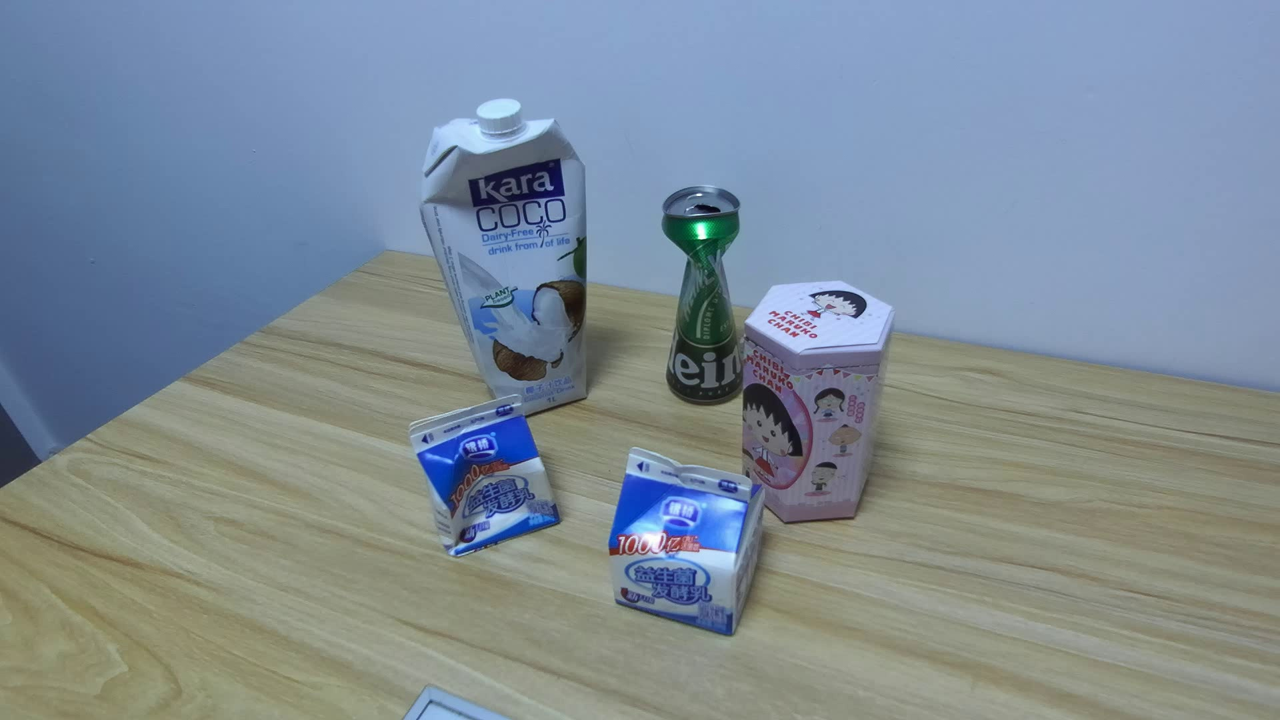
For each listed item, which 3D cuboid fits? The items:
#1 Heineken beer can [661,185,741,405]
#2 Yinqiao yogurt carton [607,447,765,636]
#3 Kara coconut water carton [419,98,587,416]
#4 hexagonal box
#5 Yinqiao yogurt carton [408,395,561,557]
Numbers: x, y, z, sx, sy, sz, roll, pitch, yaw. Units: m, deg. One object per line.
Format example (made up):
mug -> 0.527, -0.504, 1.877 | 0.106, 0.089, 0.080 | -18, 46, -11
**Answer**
Heineken beer can -> 0.051, -0.048, 0.546 | 0.066, 0.164, 0.078 | 19, 42, 32
Yinqiao yogurt carton -> 0.029, 0.093, 0.405 | 0.075, 0.092, 0.074 | 11, 36, 18
Kara coconut water carton -> -0.093, -0.070, 0.527 | 0.115, 0.239, 0.069 | -16, 38, -19
hexagonal box -> 0.110, 0.029, 0.451 | 0.084, 0.136, 0.091 | -22, 38, -26
Yinqiao yogurt carton -> -0.103, 0.065, 0.459 | 0.077, 0.094, 0.071 | -16, 39, -15
